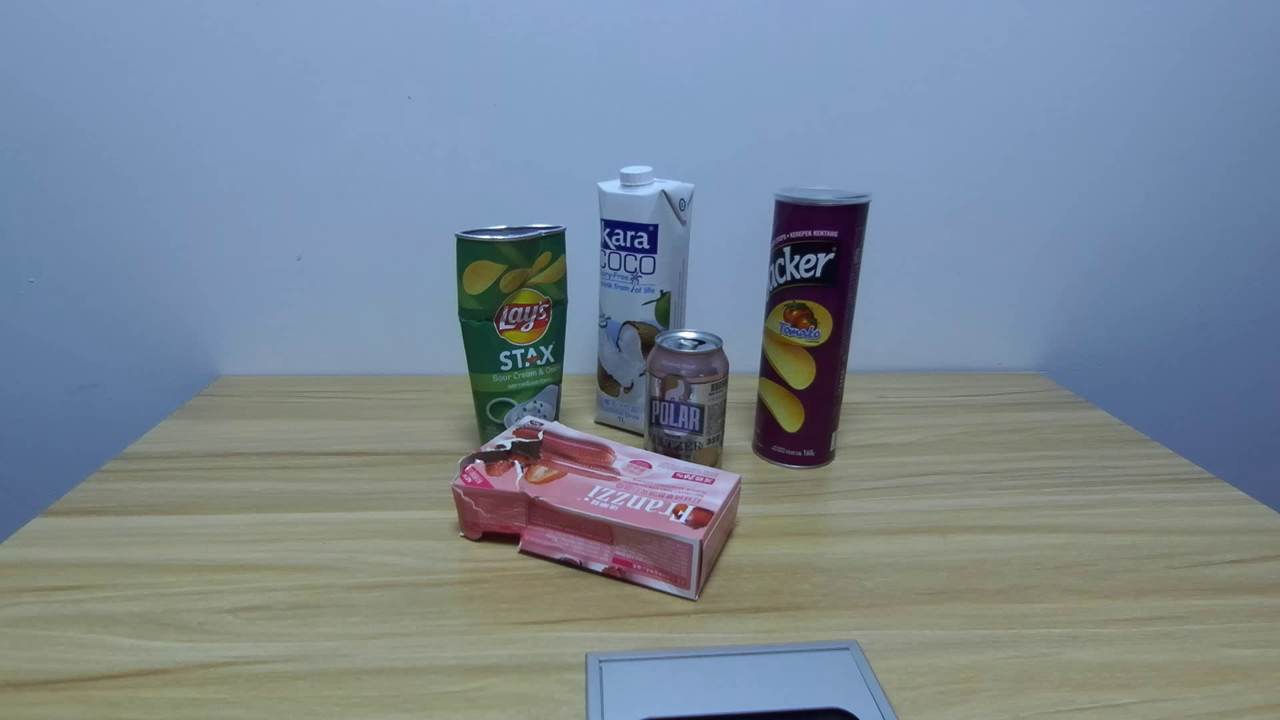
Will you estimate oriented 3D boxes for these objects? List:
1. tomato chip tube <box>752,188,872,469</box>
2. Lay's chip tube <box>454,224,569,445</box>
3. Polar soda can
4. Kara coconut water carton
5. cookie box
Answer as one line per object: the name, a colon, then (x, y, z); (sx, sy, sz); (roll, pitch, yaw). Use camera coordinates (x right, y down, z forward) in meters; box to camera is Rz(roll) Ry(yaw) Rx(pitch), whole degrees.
tomato chip tube: (0.146, -0.026, 0.614); (0.078, 0.234, 0.078); (1, 20, 0)
Lay's chip tube: (-0.105, -0.012, 0.606); (0.068, 0.199, 0.075); (10, 23, 20)
Polar soda can: (0.038, 0.041, 0.581); (0.067, 0.125, 0.067); (1, 20, 0)
Kara coconut water carton: (0.002, -0.055, 0.664); (0.076, 0.245, 0.075); (14, 23, 30)
cookie box: (-0.028, 0.099, 0.512); (0.185, 0.059, 0.105); (10, 24, 20)
